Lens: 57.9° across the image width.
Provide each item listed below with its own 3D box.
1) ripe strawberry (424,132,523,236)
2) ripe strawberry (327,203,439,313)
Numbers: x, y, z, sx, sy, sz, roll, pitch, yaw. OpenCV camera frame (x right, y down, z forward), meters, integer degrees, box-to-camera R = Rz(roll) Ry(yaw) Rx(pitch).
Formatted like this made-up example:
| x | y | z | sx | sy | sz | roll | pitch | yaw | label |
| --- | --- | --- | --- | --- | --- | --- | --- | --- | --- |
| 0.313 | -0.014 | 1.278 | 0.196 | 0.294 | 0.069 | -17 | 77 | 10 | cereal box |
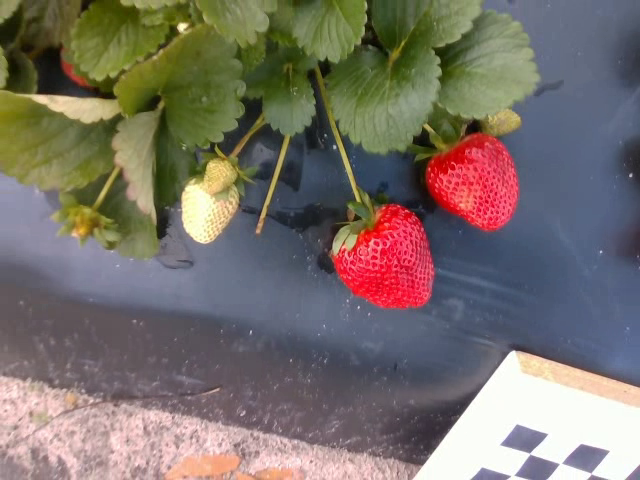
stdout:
| x | y | z | sx | sy | sz | roll | pitch | yaw | label |
| --- | --- | --- | --- | --- | --- | --- | --- | --- | --- |
| 0.089 | -0.029 | 0.327 | 0.050 | 0.060 | 0.051 | -37 | -24 | 33 | ripe strawberry |
| 0.041 | 0.016 | 0.332 | 0.058 | 0.065 | 0.044 | -32 | 11 | 30 | ripe strawberry |
